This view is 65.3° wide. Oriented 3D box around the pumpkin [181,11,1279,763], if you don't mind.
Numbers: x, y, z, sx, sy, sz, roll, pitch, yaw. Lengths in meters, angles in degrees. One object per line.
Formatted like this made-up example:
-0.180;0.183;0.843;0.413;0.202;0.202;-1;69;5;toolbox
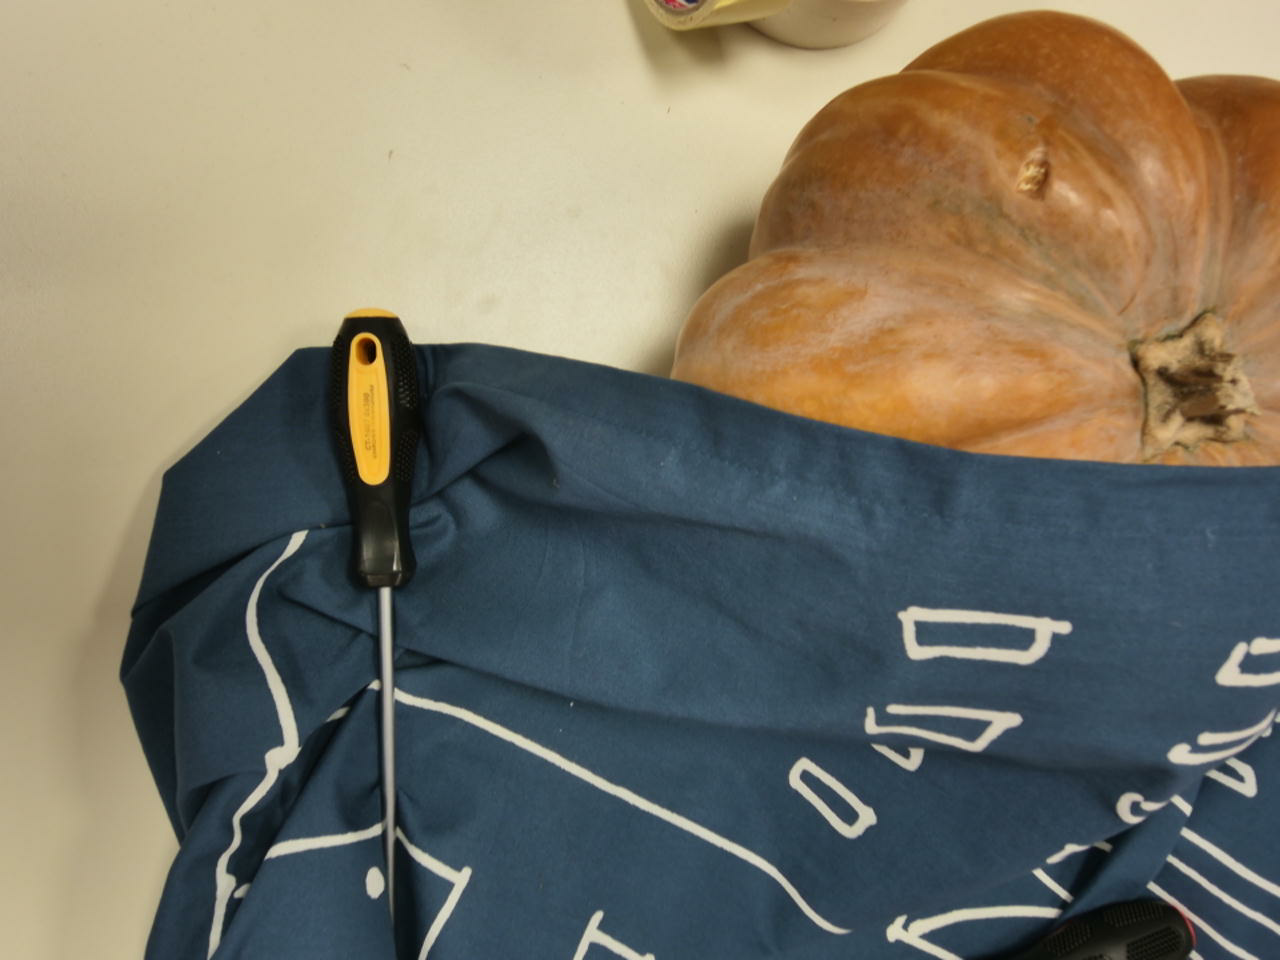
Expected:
0.148;-0.031;0.374;0.277;0.181;0.277;0;91;-12;pumpkin
